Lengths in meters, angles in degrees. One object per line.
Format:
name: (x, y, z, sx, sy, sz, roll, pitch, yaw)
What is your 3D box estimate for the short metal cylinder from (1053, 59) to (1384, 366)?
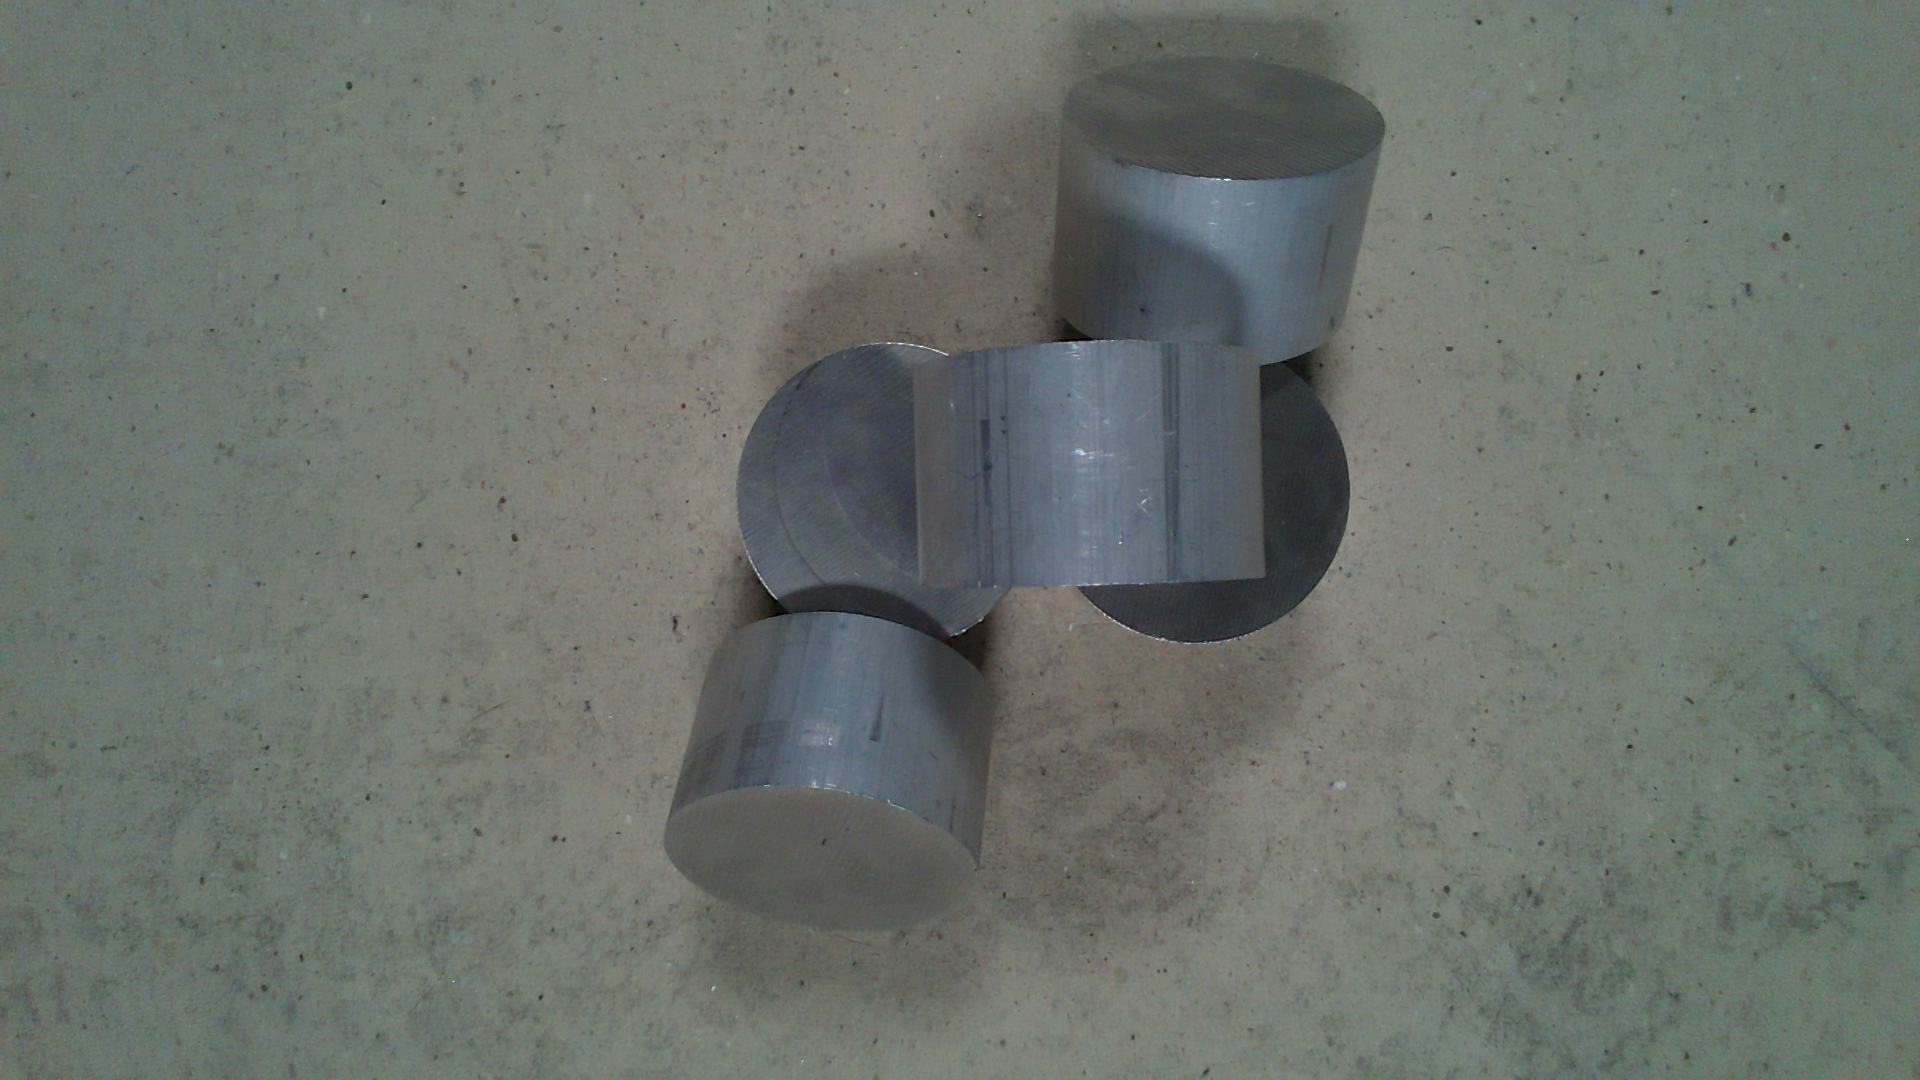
short metal cylinder: (0.065, -0.087, 0.361, 0.080, 0.080, 0.050, 1, 128, 0)

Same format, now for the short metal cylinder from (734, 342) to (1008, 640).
short metal cylinder: (-0.019, -0.011, 0.382, 0.080, 0.050, 0.080, 0, 90, 0)

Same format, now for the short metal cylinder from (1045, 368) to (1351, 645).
short metal cylinder: (0.062, -0.013, 0.383, 0.080, 0.050, 0.080, 0, 90, 0)

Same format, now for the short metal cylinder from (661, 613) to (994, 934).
short metal cylinder: (-0.033, 0.063, 0.361, 0.080, 0.080, 0.050, 7, 51, 0)

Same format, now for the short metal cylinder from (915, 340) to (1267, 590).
short metal cylinder: (0.030, -0.016, 0.318, 0.080, 0.080, 0.050, -2, 90, 0)
